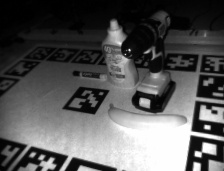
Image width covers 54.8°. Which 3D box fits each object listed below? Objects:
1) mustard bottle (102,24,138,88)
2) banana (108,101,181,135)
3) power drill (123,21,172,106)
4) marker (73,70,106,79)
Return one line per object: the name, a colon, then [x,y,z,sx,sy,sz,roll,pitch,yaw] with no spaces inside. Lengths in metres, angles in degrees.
mustard bottle: [0.019,-0.083,0.620,0.095,0.193,0.059,16,47,29]
banana: [0.066,0.085,0.533,0.195,0.039,0.074,11,46,28]
power drill: [0.090,-0.043,0.528,0.056,0.188,0.185,19,46,30]
marker: [-0.079,-0.037,0.726,0.120,0.020,0.020,8,44,22]
